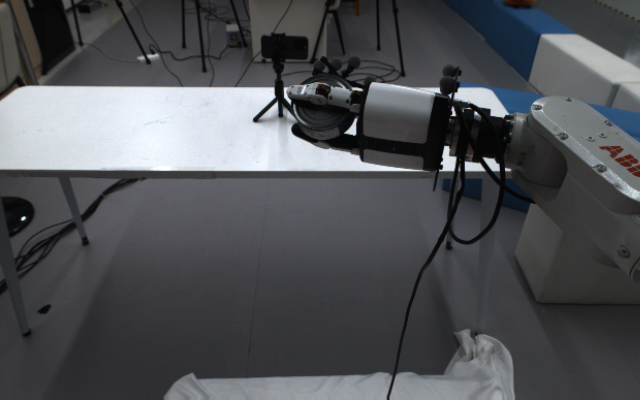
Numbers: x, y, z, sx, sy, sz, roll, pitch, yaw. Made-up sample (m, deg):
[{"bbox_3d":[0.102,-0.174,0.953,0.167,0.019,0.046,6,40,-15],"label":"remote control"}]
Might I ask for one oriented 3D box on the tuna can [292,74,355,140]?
[{"bbox_3d":[0.006,-0.127,0.656,0.085,0.034,0.085,-4,67,10],"label":"tuna can"}]
